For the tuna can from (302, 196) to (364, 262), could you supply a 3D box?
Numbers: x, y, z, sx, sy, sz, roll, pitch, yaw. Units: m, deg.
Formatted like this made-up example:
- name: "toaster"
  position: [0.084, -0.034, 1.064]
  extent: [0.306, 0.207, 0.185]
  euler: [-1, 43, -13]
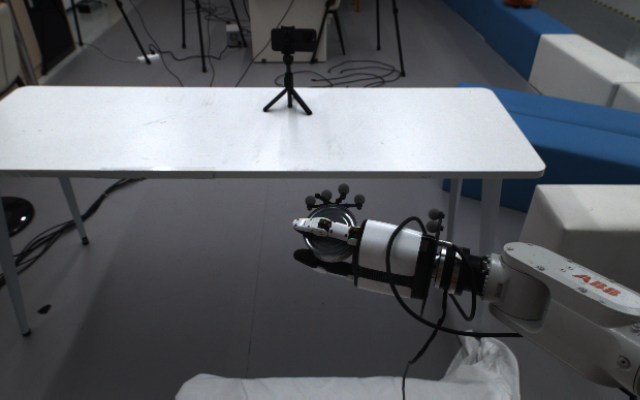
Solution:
- name: "tuna can"
  position: [0.019, 0.051, 0.743]
  extent: [0.085, 0.034, 0.085]
  euler: [-6, 61, 10]
